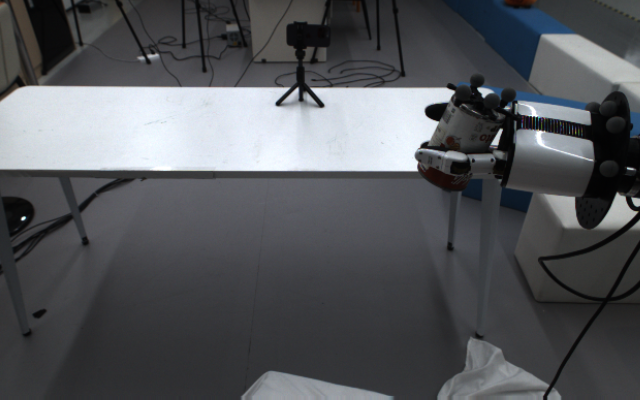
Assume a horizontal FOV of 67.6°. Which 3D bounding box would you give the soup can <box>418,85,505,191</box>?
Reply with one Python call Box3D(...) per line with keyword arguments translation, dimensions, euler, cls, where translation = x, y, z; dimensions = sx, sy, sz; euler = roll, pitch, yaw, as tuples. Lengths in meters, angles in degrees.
Box3D(translation=(0.171, -0.071, 0.587), dimensions=(0.067, 0.101, 0.067), euler=(14, 35, -10), cls="soup can")
